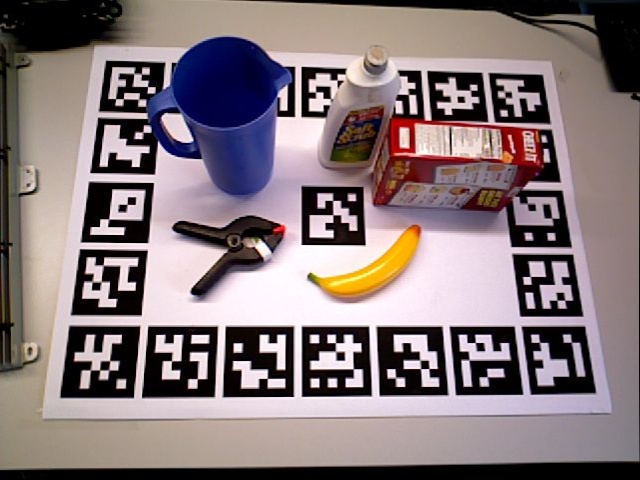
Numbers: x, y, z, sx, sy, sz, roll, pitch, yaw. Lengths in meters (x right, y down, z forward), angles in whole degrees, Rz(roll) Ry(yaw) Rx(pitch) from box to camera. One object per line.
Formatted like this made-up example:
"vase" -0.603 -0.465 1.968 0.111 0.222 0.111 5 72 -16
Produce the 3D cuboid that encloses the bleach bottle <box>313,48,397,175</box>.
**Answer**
"bleach bottle" 0.048 -0.184 0.786 0.102 0.255 0.067 2 68 -4

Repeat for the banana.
"banana" 0.082 0.043 0.828 0.195 0.039 0.074 -31 74 -13

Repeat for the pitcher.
"pitcher" -0.136 -0.159 0.745 0.186 0.247 0.132 -15 70 -13

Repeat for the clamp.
"clamp" -0.135 0.011 0.818 0.163 0.037 0.121 -14 70 -10

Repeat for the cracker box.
"cracker box" 0.199 -0.099 0.794 0.212 0.167 0.071 3 66 -1
